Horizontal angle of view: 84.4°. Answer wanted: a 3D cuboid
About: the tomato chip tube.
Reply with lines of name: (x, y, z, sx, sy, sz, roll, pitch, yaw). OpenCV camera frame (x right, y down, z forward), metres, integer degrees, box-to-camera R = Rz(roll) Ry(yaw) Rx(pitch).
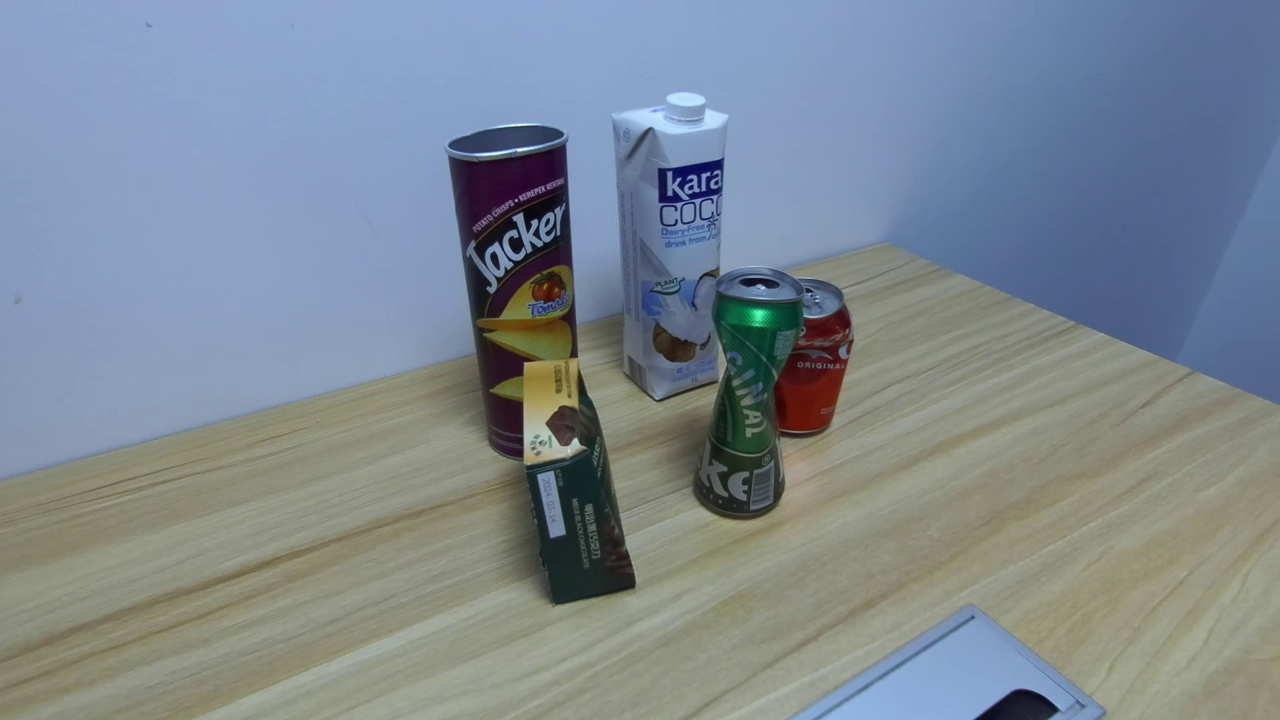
tomato chip tube: (-0.084, -0.042, 0.517, 0.080, 0.234, 0.076, -8, 30, -12)

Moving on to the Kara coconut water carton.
Kara coconut water carton: (0.025, -0.090, 0.580, 0.077, 0.245, 0.075, -16, 32, -24)

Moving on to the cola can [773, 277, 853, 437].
cola can: (0.131, -0.004, 0.562, 0.072, 0.117, 0.065, 8, 34, 15)

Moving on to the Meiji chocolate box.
Meiji chocolate box: (-0.041, 0.072, 0.446, 0.058, 0.111, 0.113, -10, 30, -11)

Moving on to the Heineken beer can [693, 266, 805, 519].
Heineken beer can: (0.071, 0.026, 0.469, 0.078, 0.164, 0.065, -21, 35, -37)
